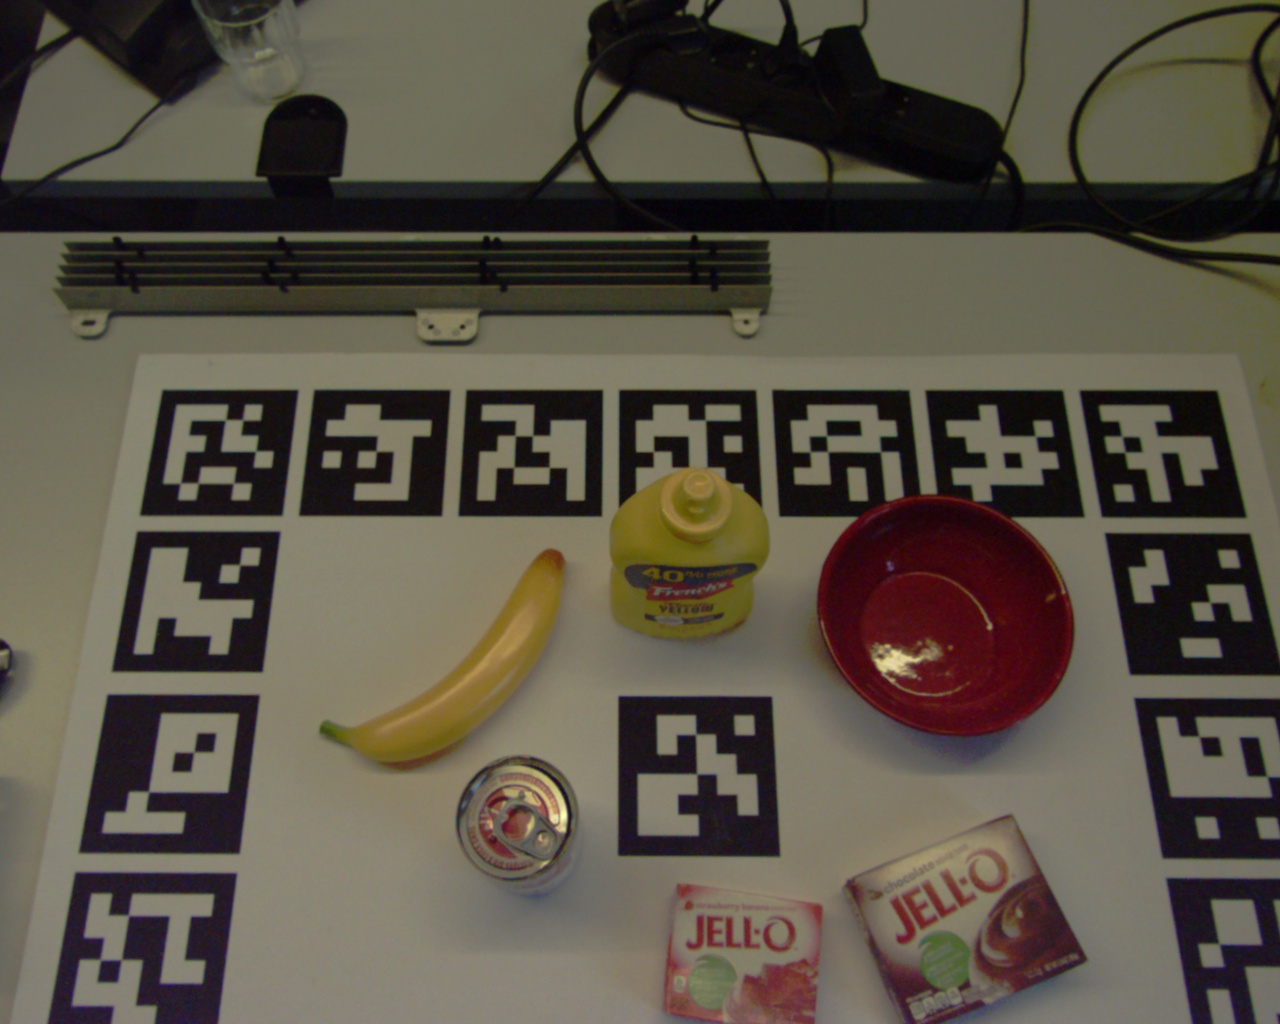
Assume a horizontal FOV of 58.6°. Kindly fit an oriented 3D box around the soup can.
[{"bbox_3d":[-0.070,0.185,0.697,0.068,0.102,0.068,1,65,-2],"label":"soup can"}]

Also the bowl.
[{"bbox_3d":[0.205,0.075,0.781,0.162,0.055,0.162,-1,66,1],"label":"bowl"}]

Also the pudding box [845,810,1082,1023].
[{"bbox_3d":[0.198,0.251,0.710,0.113,0.038,0.090,-22,74,-9],"label":"pudding box"}]

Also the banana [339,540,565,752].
[{"bbox_3d":[-0.112,0.098,0.780,0.075,0.038,0.196,37,71,25],"label":"banana"}]

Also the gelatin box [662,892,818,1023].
[{"bbox_3d":[0.062,0.278,0.704,0.089,0.030,0.073,6,70,4],"label":"gelatin box"}]

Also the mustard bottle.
[{"bbox_3d":[0.036,0.026,0.715,0.096,0.191,0.058,1,64,-1],"label":"mustard bottle"}]
